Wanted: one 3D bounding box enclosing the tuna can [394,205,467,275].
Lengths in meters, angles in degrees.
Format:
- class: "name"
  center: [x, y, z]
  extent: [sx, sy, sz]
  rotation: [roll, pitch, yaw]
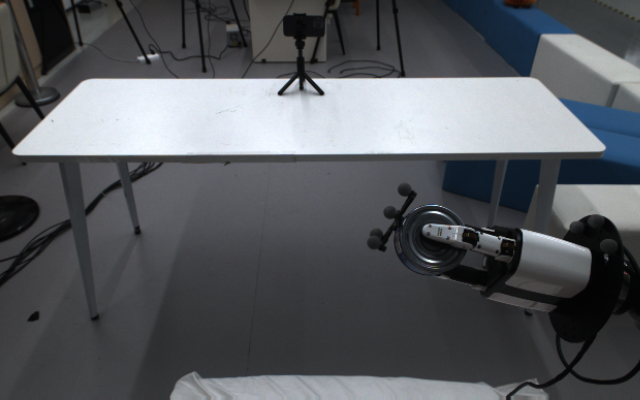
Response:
- class: "tuna can"
  center: [0.140, 0.047, 0.597]
  extent: [0.085, 0.034, 0.085]
  rotation: [1, 75, -5]
